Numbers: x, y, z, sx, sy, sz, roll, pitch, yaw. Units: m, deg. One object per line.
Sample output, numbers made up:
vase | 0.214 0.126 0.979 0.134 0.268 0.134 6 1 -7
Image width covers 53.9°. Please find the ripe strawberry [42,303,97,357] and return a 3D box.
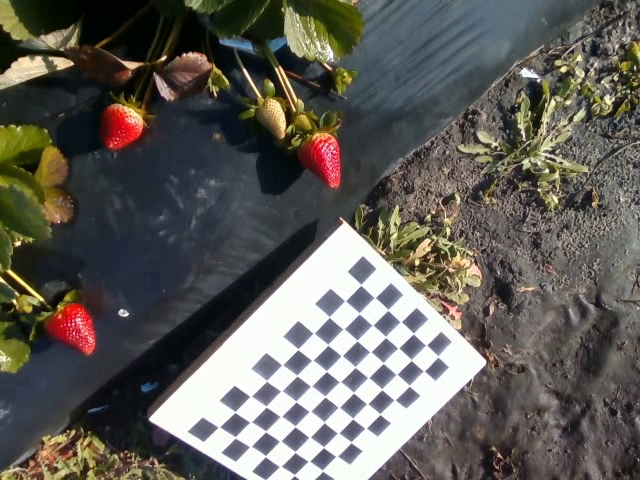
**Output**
ripe strawberry | -0.218 0.083 0.569 0.045 0.055 0.042 -40 -5 -5

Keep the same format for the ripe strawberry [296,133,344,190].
ripe strawberry | 0.000 -0.067 0.545 0.042 0.059 0.042 -27 14 -11

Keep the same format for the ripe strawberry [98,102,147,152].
ripe strawberry | -0.161 -0.090 0.516 0.034 0.047 0.035 43 -6 -26
